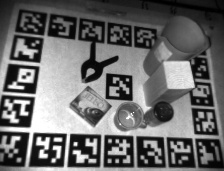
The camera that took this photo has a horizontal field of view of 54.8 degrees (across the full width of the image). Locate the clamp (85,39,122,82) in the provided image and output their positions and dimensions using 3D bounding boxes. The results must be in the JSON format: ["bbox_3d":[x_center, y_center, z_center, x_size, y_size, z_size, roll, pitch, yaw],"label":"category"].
[{"bbox_3d":[-0.048,-0.082,0.801,0.122,0.036,0.165,32,68,-7],"label":"clamp"}]

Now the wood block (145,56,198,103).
[{"bbox_3d":[0.197,-0.012,0.727,0.090,0.205,0.090,0,70,-14],"label":"wood block"}]

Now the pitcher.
[{"bbox_3d":[0.221,-0.130,0.758,0.189,0.242,0.133,0,68,-8],"label":"pitcher"}]

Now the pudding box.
[{"bbox_3d":[-0.065,0.067,0.739,0.113,0.038,0.090,37,71,4],"label":"pudding box"}]

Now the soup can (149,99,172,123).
[{"bbox_3d":[0.173,0.090,0.743,0.068,0.102,0.068,3,72,-9],"label":"soup can"}]

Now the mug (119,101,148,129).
[{"bbox_3d":[0.080,0.109,0.729,0.117,0.081,0.093,36,66,4],"label":"mug"}]
